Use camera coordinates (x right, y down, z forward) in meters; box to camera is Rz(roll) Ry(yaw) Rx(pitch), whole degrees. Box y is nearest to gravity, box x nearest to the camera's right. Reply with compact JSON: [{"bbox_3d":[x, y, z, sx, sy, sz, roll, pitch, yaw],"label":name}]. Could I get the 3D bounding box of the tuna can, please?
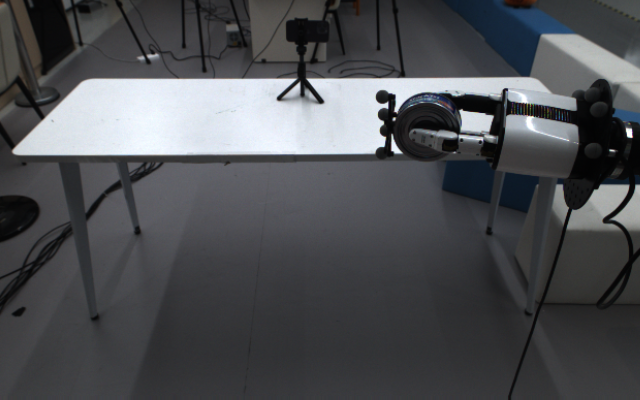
[{"bbox_3d":[0.139,-0.100,0.632,0.085,0.085,0.034,9,32,10],"label":"tuna can"}]
